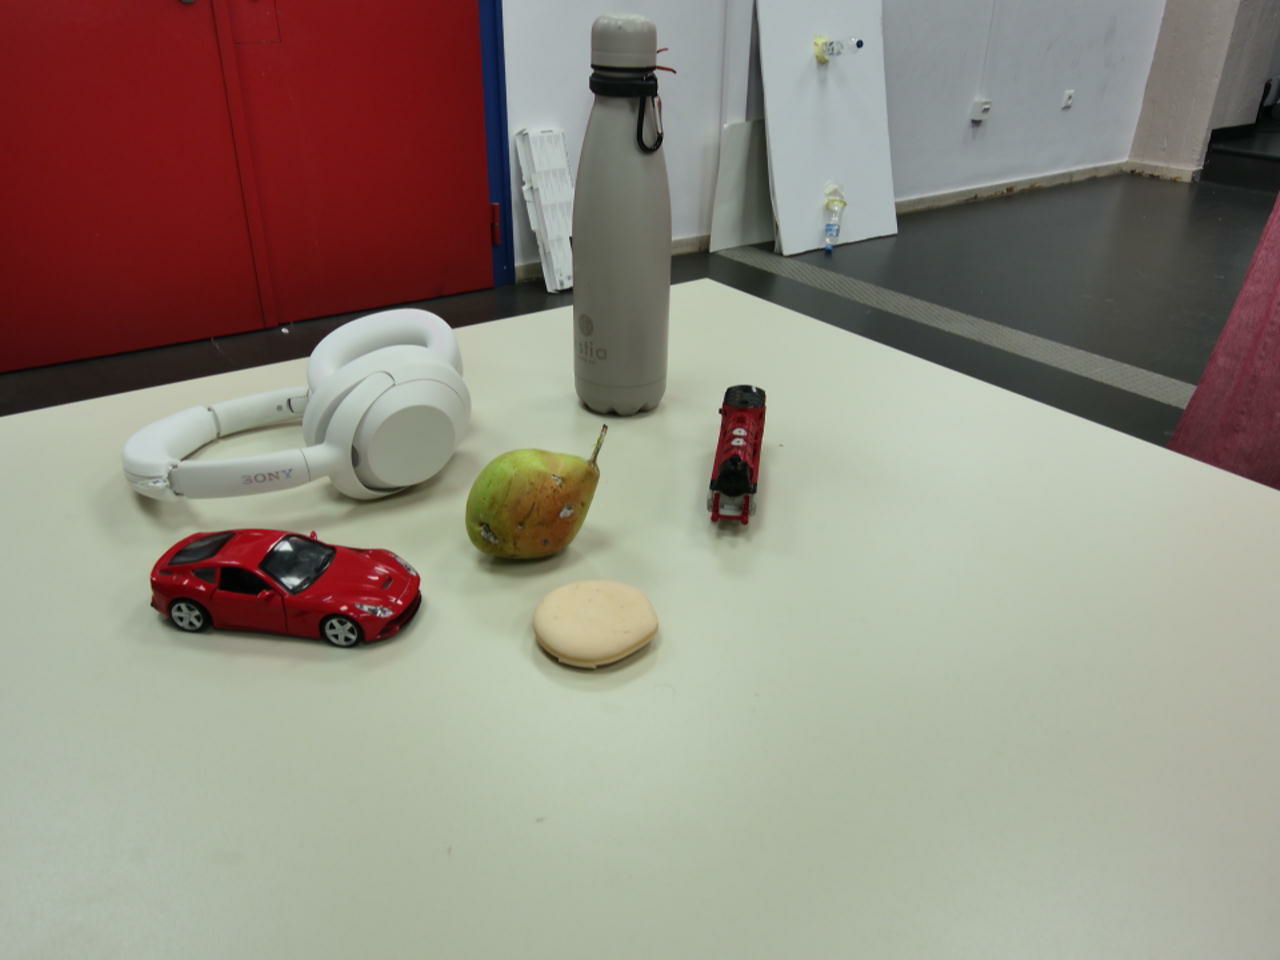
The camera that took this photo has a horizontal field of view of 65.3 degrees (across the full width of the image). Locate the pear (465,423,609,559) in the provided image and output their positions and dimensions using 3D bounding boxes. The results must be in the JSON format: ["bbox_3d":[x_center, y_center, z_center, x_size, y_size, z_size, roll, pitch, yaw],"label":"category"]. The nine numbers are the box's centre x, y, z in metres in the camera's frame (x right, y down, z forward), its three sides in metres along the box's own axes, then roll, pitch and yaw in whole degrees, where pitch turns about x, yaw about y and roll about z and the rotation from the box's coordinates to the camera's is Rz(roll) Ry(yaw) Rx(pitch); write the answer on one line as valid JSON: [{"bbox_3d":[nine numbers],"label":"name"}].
[{"bbox_3d":[-0.060,0.010,0.562,0.070,0.069,0.068,7,27,13],"label":"pear"}]
